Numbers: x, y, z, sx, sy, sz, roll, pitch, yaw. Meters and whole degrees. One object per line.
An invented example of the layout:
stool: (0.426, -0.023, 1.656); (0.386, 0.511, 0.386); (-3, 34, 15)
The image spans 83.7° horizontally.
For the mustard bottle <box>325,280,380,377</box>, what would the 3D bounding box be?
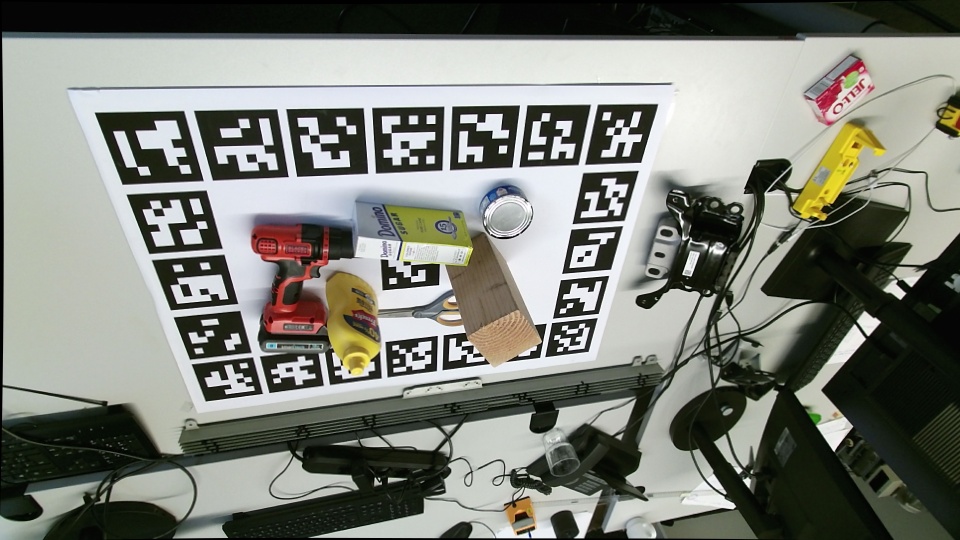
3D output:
mustard bottle: (-0.202, 0.099, 0.857); (0.058, 0.190, 0.096); (-38, 125, 10)

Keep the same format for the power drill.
power drill: (-0.259, 0.028, 0.863); (0.185, 0.057, 0.187); (7, 115, -21)

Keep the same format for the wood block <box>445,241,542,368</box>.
wood block: (0.015, 0.054, 0.882); (0.091, 0.205, 0.090); (-28, 126, 3)

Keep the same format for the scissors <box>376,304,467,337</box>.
scissors: (-0.090, 0.095, 0.986); (0.204, 0.016, 0.088); (-3, 129, -15)

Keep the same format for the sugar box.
sugar box: (-0.111, -0.045, 0.835); (0.177, 0.092, 0.045); (6, 125, -19)

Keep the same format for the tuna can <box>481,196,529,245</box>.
tuna can: (0.045, -0.079, 0.889); (0.086, 0.033, 0.086); (-7, 125, -11)
